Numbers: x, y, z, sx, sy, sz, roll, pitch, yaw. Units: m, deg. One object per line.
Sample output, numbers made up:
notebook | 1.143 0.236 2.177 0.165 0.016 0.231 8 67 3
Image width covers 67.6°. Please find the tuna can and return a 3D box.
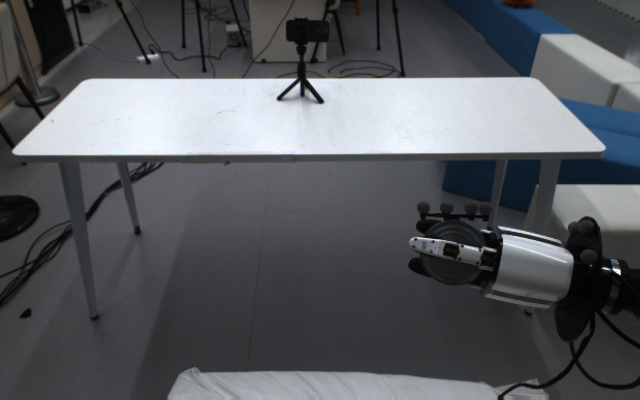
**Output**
tuna can | 0.179 0.067 0.642 0.085 0.085 0.034 13 -1 16
